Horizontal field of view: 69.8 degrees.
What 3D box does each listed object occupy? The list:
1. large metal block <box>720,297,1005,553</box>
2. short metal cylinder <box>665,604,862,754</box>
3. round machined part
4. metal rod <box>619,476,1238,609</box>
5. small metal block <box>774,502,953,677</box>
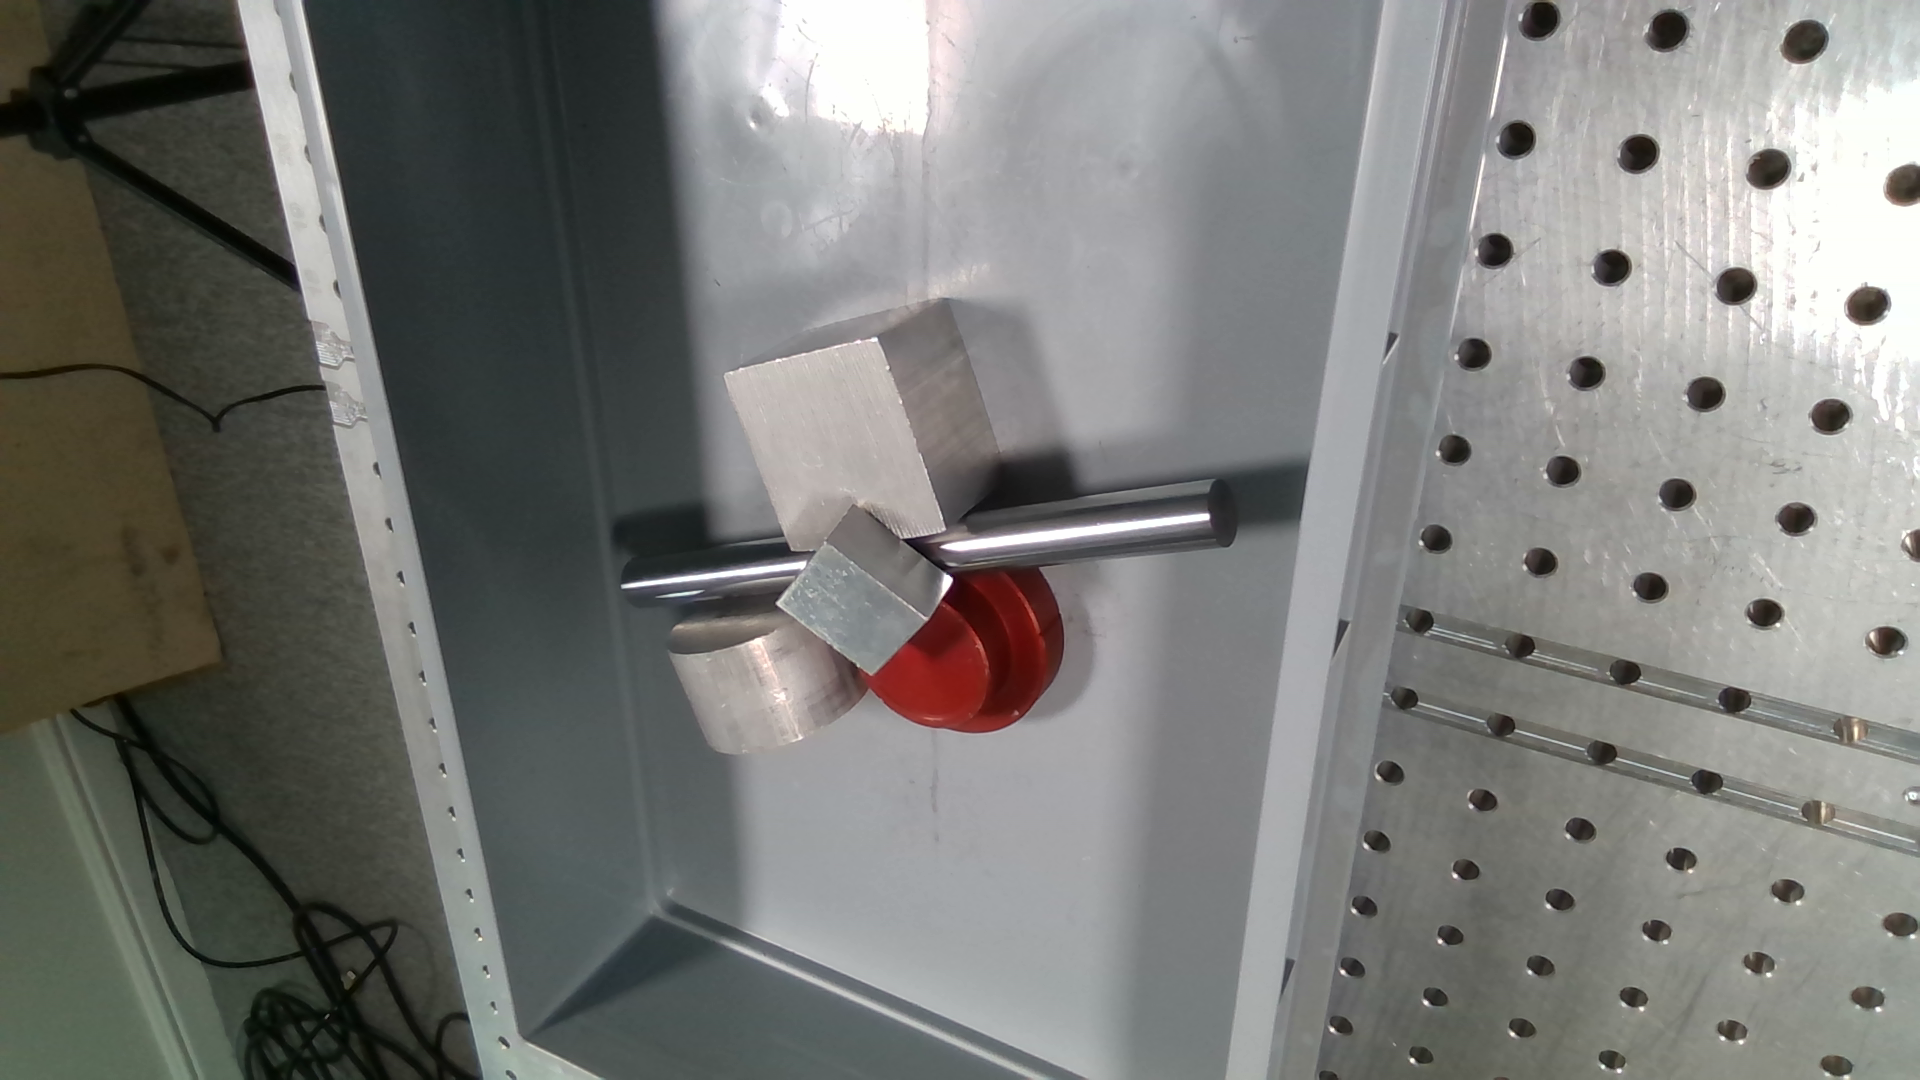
[{"bbox_3d":[-0.039,-0.045,0.558,0.080,0.050,0.080,-7,111,34],"label":"large metal block"},{"bbox_3d":[-0.087,0.054,0.626,0.080,0.080,0.050,-7,111,34],"label":"short metal cylinder"},{"bbox_3d":[-0.008,0.042,0.595,0.098,0.042,0.098,14,122,25],"label":"round machined part"},{"bbox_3d":[-0.029,0.005,0.572,0.300,0.025,0.025,-7,111,34],"label":"metal rod"},{"bbox_3d":[-0.039,0.021,0.551,0.050,0.025,0.050,38,137,-6],"label":"small metal block"}]
